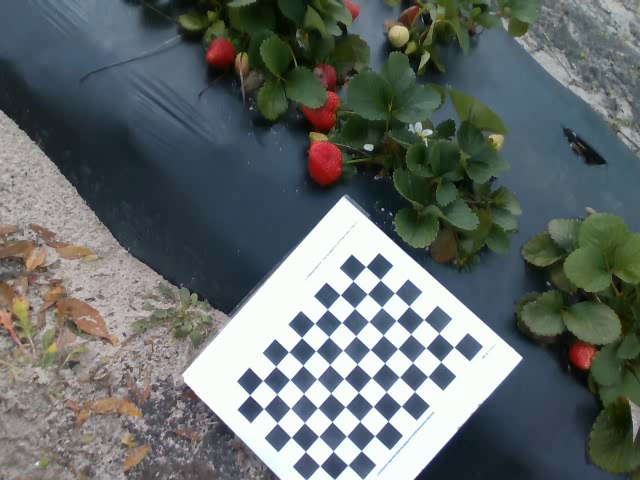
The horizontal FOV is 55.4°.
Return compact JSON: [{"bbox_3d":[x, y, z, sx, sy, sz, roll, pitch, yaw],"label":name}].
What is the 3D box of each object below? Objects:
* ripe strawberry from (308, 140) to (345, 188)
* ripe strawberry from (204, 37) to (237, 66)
[{"bbox_3d":[0.003,-0.102,0.762,0.057,0.056,0.064,1,-4,22],"label":"ripe strawberry"},{"bbox_3d":[-0.130,-0.246,0.796,0.044,0.041,0.051,23,42,10],"label":"ripe strawberry"}]
